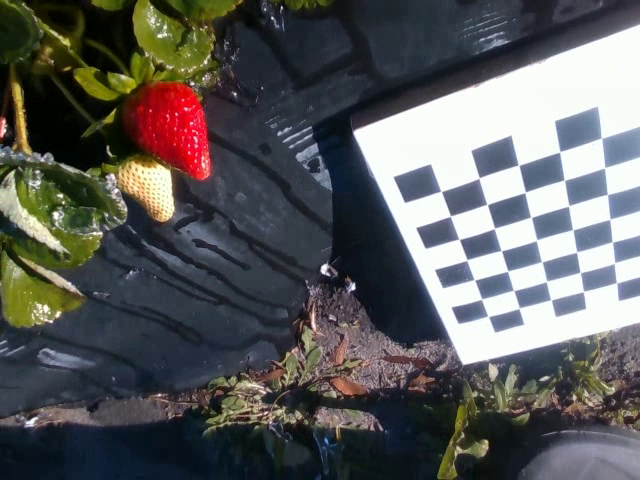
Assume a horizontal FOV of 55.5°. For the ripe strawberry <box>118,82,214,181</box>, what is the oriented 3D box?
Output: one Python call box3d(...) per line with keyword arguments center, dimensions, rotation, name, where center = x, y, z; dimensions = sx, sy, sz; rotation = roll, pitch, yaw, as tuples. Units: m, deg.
box3d(center=(-0.074, -0.055, 0.324), dimensions=(0.042, 0.061, 0.046), rotation=(-29, -1, 25), name="ripe strawberry")
